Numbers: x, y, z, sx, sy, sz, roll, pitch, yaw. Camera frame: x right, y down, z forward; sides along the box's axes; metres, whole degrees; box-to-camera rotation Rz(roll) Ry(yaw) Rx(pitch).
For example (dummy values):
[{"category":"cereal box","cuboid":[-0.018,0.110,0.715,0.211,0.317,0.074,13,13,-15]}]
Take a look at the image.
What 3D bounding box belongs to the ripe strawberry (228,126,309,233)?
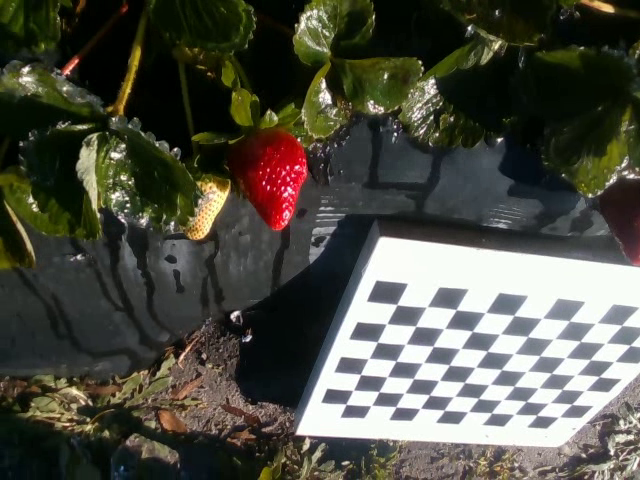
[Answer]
[{"category":"ripe strawberry","cuboid":[-0.025,-0.030,0.344,0.042,0.061,0.046,-3,4,-3]}]
